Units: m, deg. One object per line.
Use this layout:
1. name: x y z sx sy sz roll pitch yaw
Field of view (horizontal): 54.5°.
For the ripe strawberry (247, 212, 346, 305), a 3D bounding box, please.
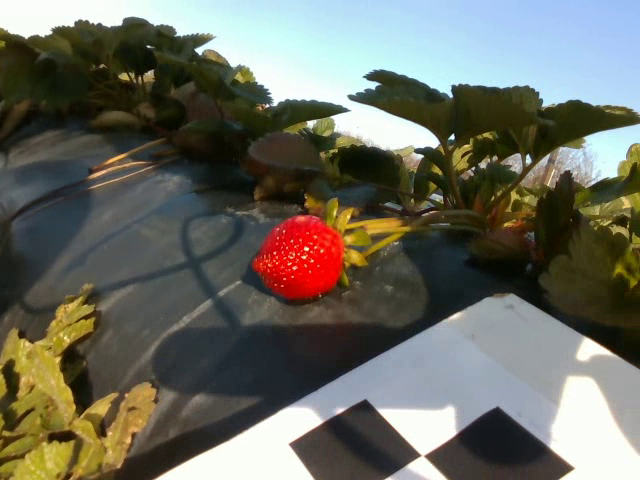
1. ripe strawberry: -0.011 0.007 0.231 0.040 0.037 0.044 16 27 38
